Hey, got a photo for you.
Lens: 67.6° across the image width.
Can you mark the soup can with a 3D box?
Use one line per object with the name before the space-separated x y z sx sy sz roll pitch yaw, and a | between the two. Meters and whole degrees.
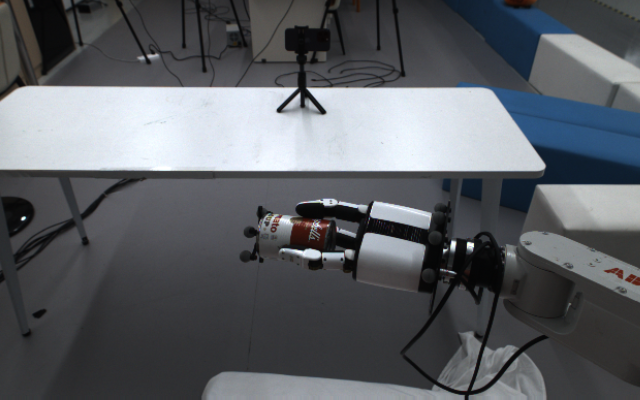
soup can | -0.030 0.057 0.695 0.101 0.067 0.067 5 35 13
